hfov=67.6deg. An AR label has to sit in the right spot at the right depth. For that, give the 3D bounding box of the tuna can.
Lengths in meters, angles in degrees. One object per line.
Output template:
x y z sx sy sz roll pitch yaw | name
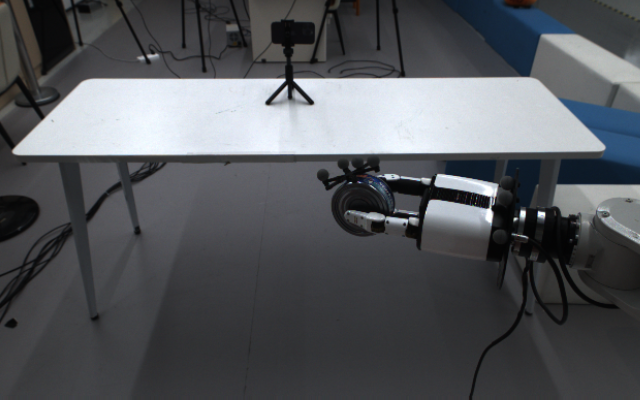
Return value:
0.064 0.013 0.677 0.085 0.085 0.034 15 30 18 | tuna can
